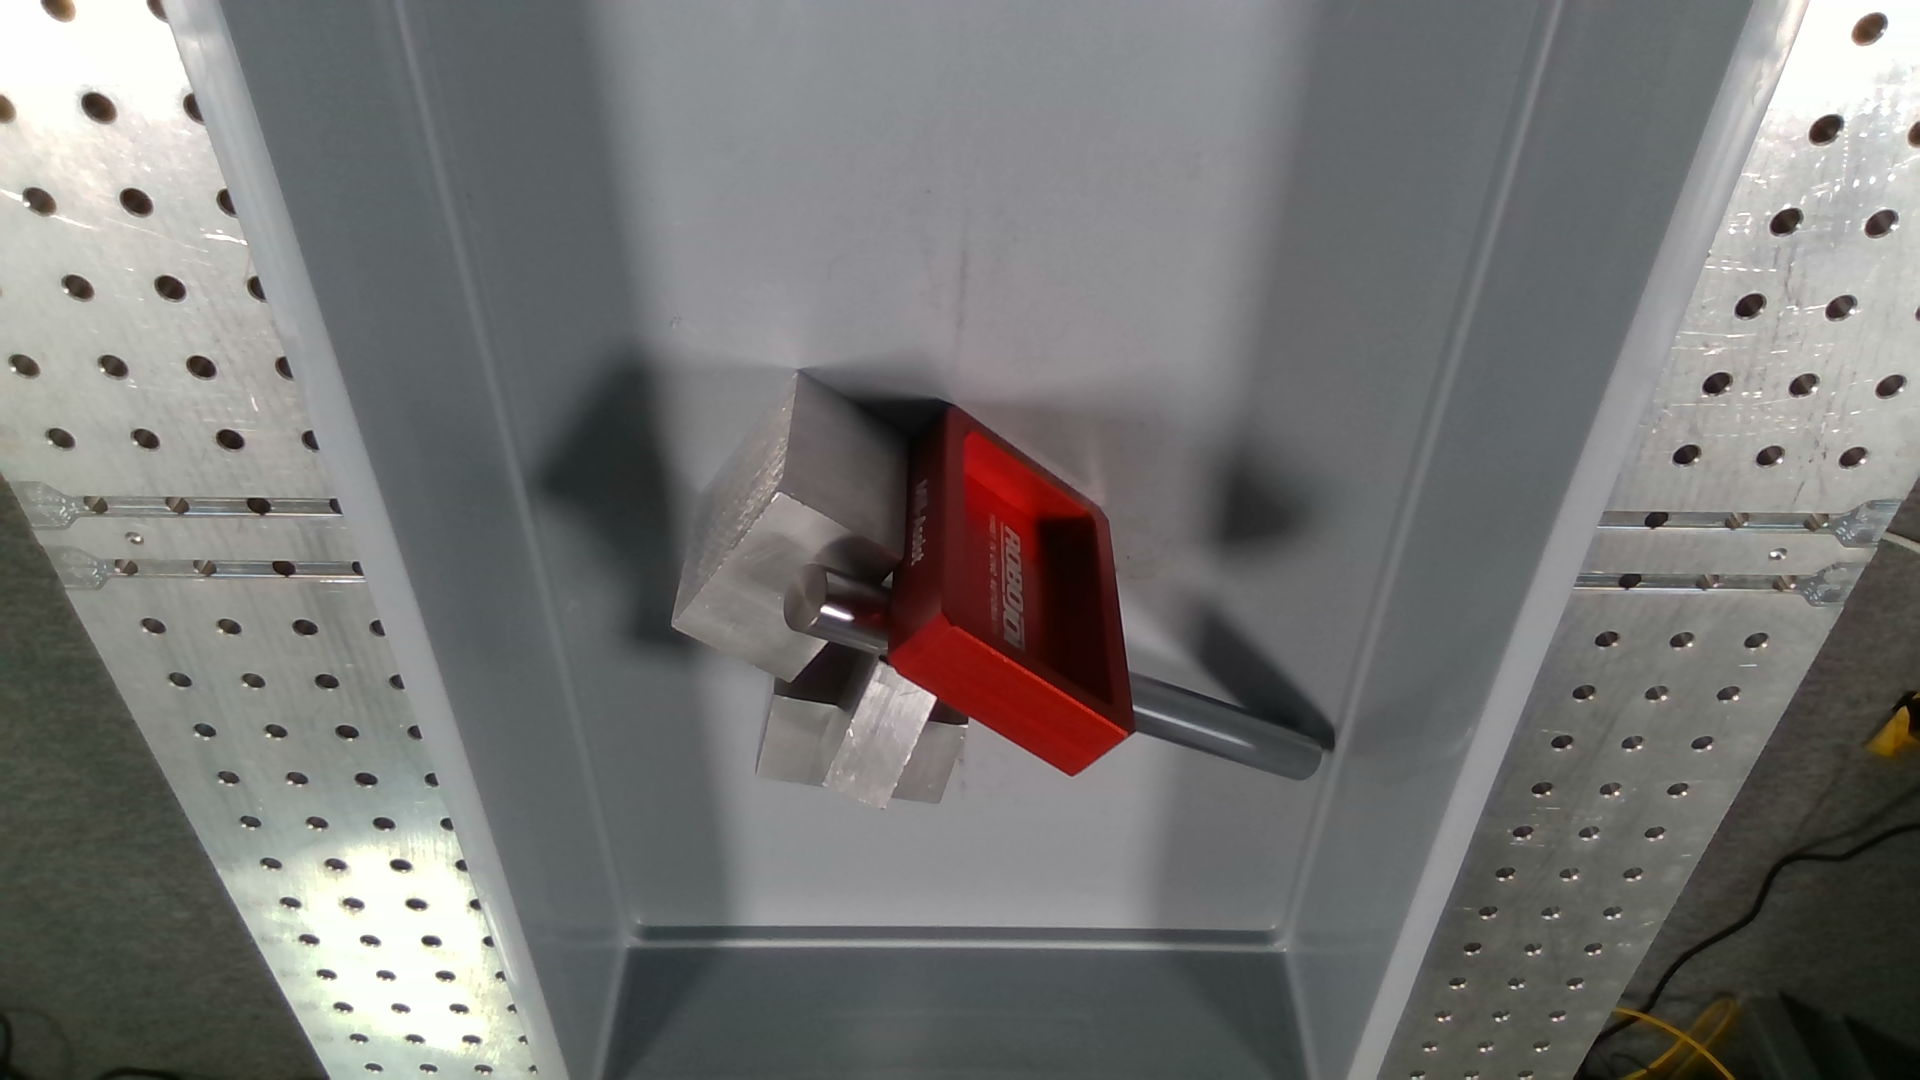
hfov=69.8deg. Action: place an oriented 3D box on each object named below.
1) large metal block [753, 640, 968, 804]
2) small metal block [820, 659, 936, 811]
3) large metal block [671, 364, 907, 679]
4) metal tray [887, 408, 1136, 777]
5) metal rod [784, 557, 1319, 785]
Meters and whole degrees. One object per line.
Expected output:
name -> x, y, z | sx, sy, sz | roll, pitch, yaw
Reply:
large metal block -> -0.042, 0.061, 0.595 | 0.080, 0.080, 0.050 | 10, 129, -9
small metal block -> -0.032, 0.068, 0.522 | 0.025, 0.050, 0.050 | 25, 94, -10
large metal block -> -0.065, -0.007, 0.538 | 0.050, 0.080, 0.080 | 29, 124, -22
metal tray -> 0.019, 0.016, 0.523 | 0.090, 0.130, 0.030 | 33, 122, -24
metal rod -> 0.055, 0.062, 0.572 | 0.301, 0.025, 0.025 | 22, 128, -39
